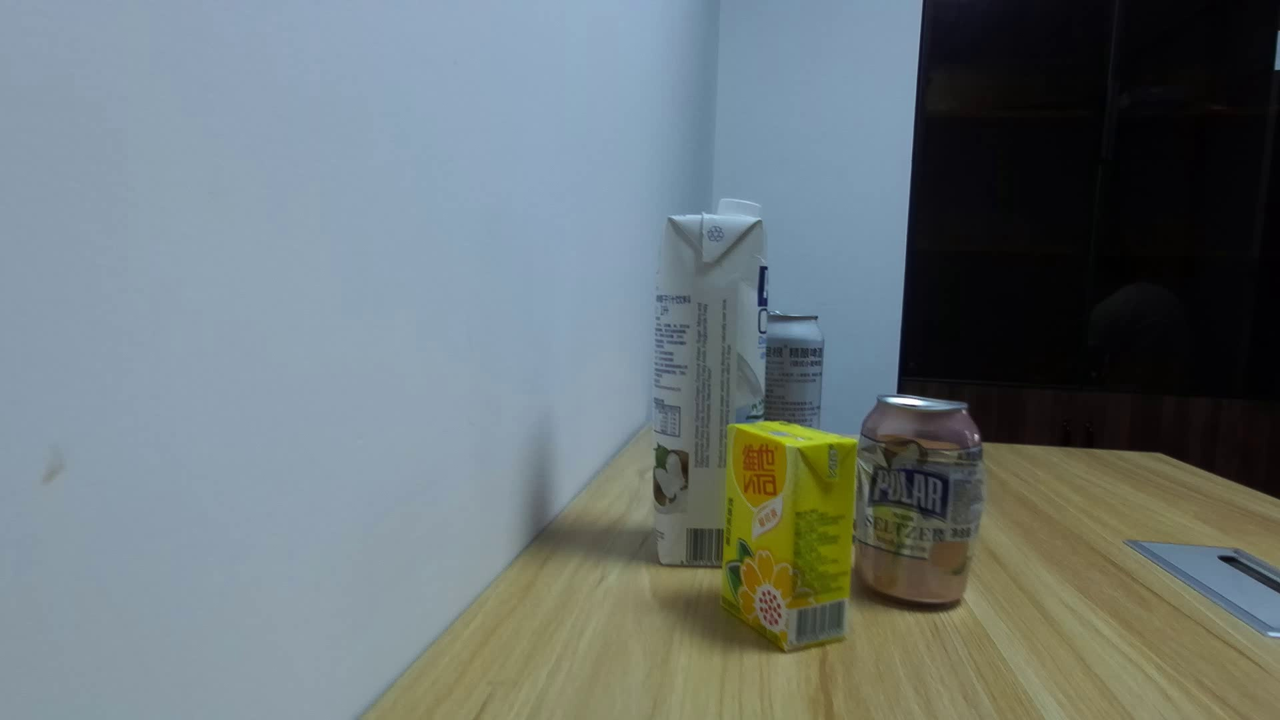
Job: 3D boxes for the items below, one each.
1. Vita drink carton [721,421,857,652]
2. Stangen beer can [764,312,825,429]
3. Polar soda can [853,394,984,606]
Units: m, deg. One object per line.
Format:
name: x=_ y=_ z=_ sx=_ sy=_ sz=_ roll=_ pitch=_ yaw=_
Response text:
Vita drink carton: x=0.079 y=0.092 z=0.389 sx=0.044 sy=0.109 sz=0.066 roll=-1 pitch=7 yaw=-26
Stangen beer can: x=0.114 y=0.047 z=0.581 sx=0.067 sy=0.171 sz=0.067 roll=1 pitch=6 yaw=0
Polar soda can: x=0.170 y=0.085 z=0.443 sx=0.067 sy=0.121 sz=0.074 roll=1 pitch=7 yaw=-16
